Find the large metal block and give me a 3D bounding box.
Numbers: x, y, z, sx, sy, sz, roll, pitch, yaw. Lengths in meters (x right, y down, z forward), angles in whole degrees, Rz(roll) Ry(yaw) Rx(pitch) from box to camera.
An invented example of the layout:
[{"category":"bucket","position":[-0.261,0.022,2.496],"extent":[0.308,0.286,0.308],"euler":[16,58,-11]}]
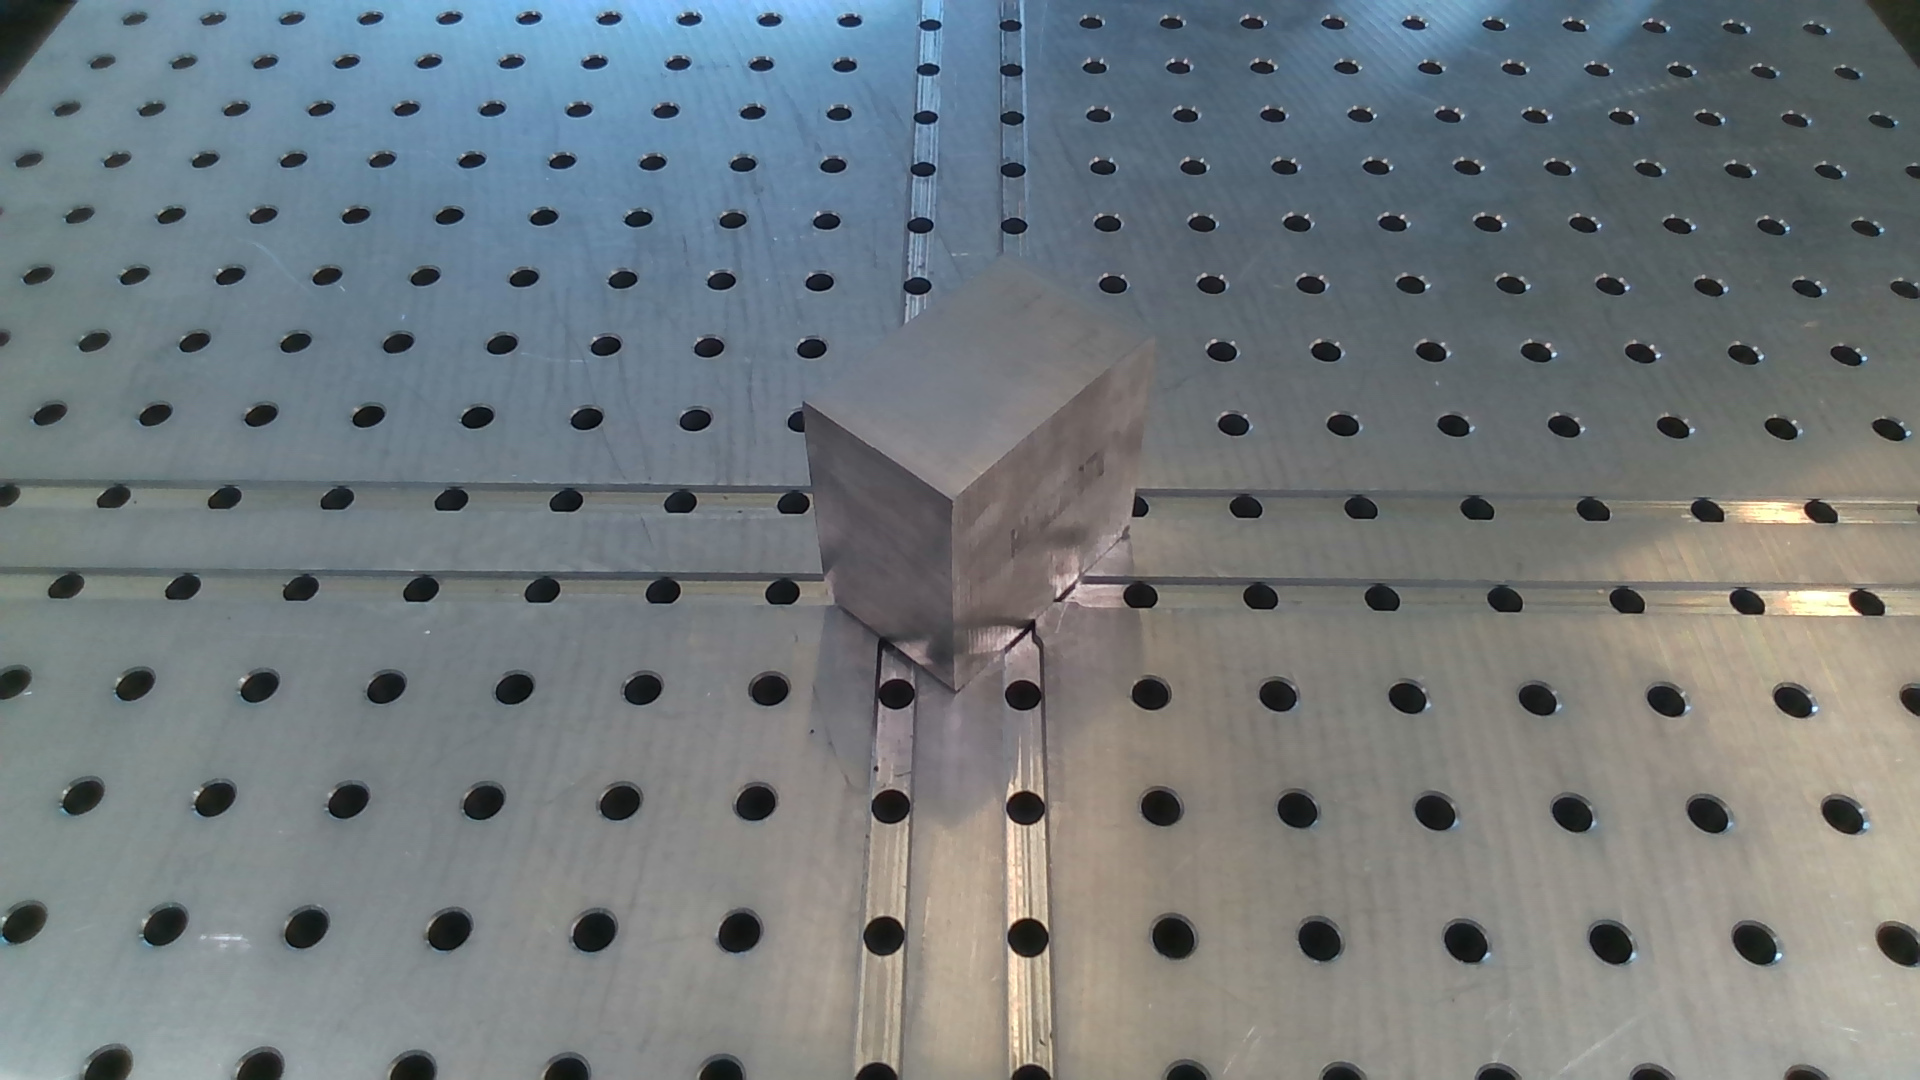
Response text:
[{"category":"large metal block","position":[0.006,-0.019,0.377],"extent":[0.050,0.080,0.080],"euler":[34,58,25]}]
